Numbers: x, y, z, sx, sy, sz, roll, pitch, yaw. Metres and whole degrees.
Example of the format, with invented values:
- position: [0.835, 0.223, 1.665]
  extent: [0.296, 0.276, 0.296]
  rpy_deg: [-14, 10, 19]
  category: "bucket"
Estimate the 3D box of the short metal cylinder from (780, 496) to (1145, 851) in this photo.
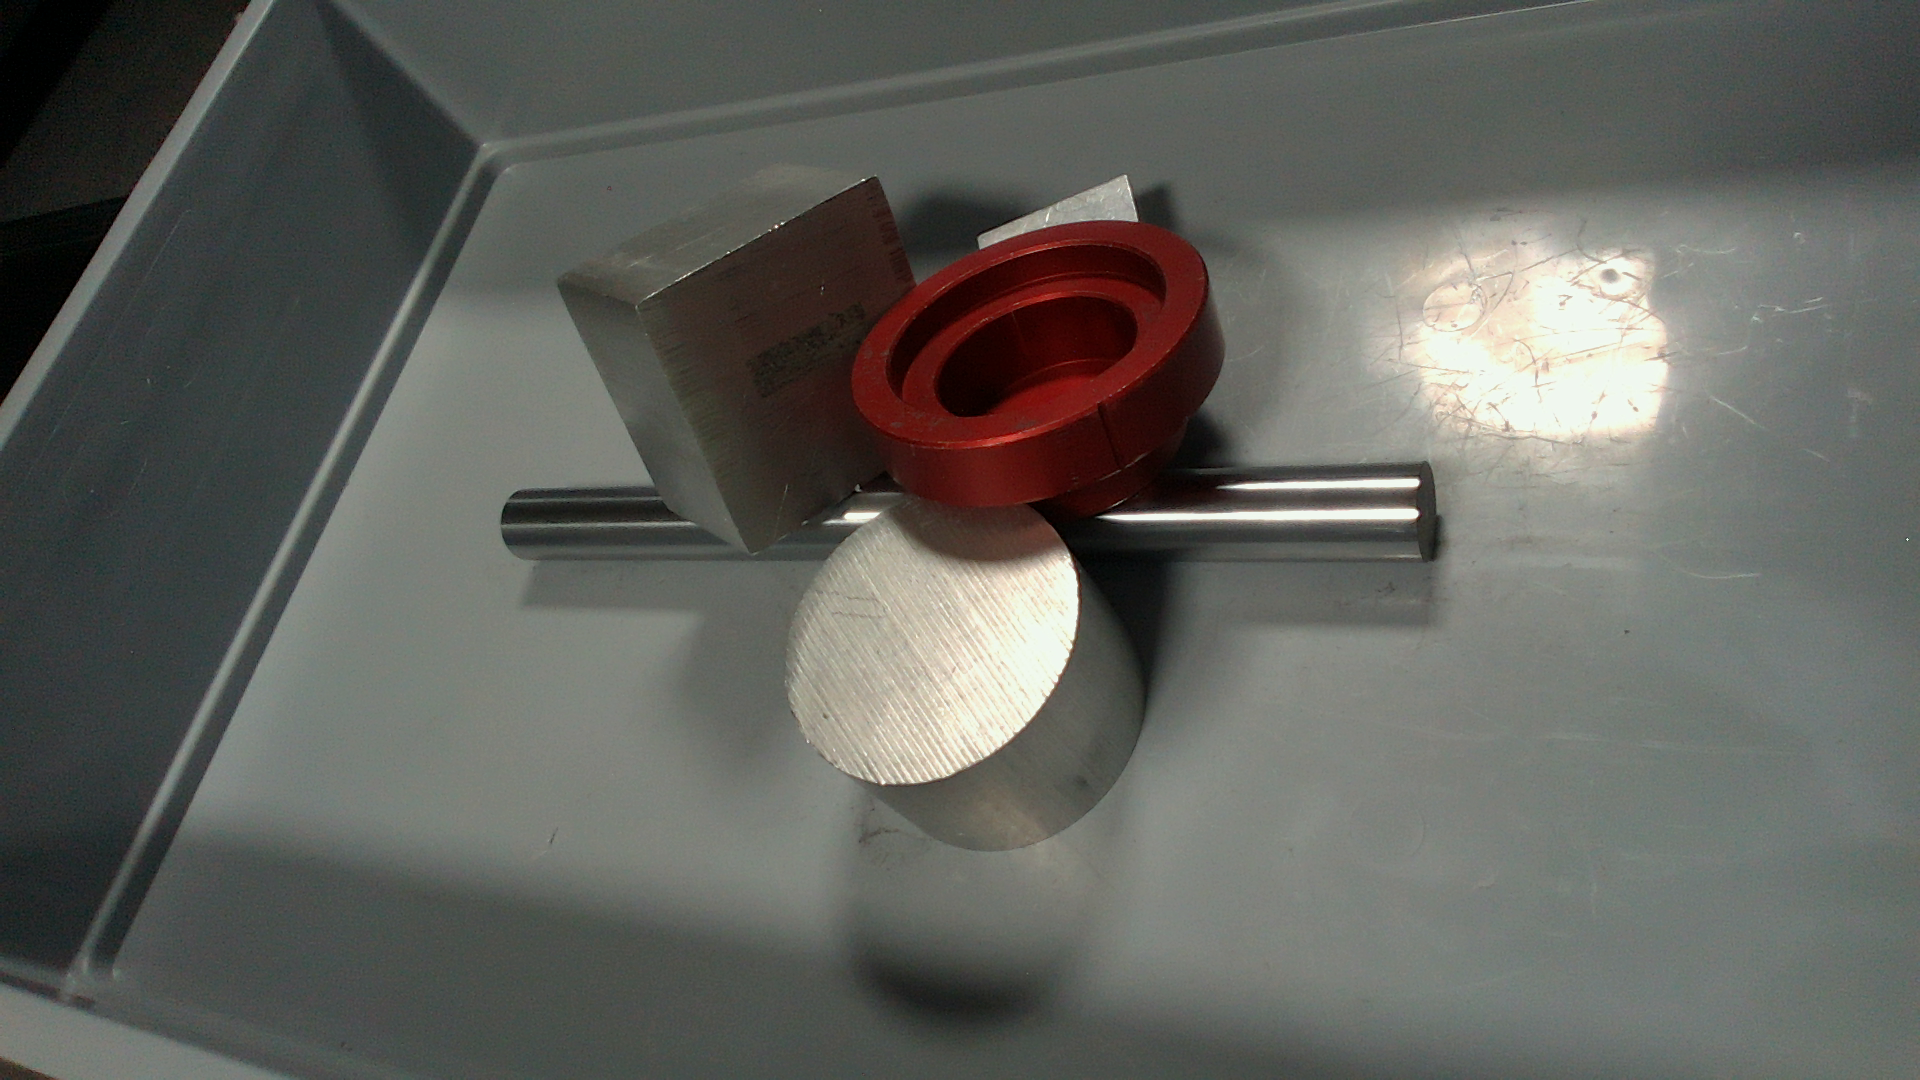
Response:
- position: [0.001, 0.033, 0.354]
  extent: [0.080, 0.050, 0.080]
  rpy_deg: [-14, 56, 21]
  category: "short metal cylinder"

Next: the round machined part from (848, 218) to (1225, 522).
- position: [0.023, -0.042, 0.370]
  extent: [0.098, 0.042, 0.098]
  rpy_deg: [-15, 38, 13]
  category: "round machined part"

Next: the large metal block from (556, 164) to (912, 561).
- position: [-0.056, -0.054, 0.402]
  extent: [0.080, 0.080, 0.050]
  rpy_deg: [-36, 35, -25]
  category: "large metal block"

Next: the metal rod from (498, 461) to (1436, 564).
- position: [-0.018, -0.006, 0.404]
  extent: [0.299, 0.025, 0.025]
  rpy_deg: [0, 61, 28]
  category: "metal rod"

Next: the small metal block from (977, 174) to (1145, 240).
- position: [0.036, -0.077, 0.421]
  extent: [0.050, 0.025, 0.050]
  rpy_deg: [-19, 54, 17]
  category: "small metal block"
